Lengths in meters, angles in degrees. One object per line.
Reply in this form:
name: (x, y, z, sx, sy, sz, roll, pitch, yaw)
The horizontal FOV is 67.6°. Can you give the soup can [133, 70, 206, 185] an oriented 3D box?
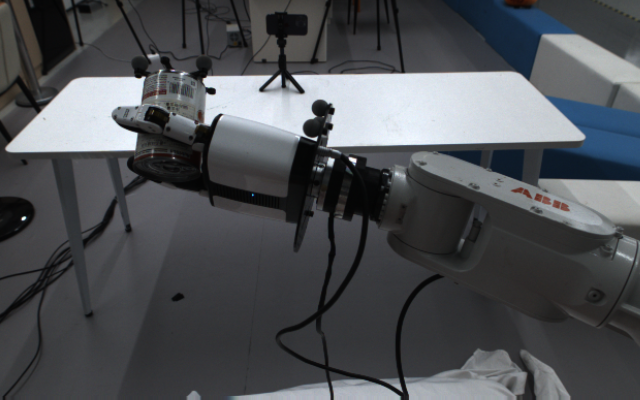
soup can: (-0.157, -0.076, 0.514, 0.067, 0.067, 0.101, 1, 72, -2)
